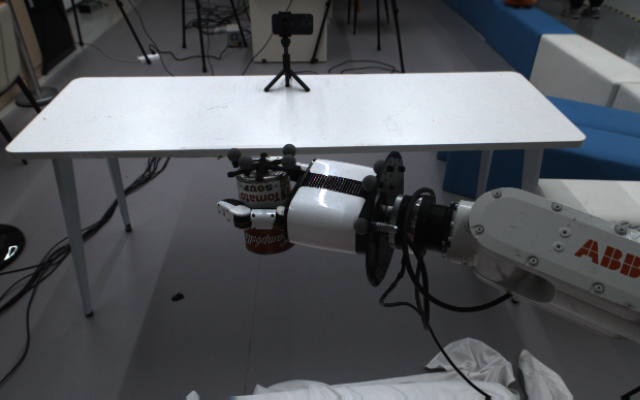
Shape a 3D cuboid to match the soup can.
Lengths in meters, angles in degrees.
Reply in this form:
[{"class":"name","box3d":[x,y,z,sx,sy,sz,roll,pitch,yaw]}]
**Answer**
[{"class":"soup can","box3d":[-0.066,0.009,0.613,0.067,0.101,0.067,-4,26,2]}]
